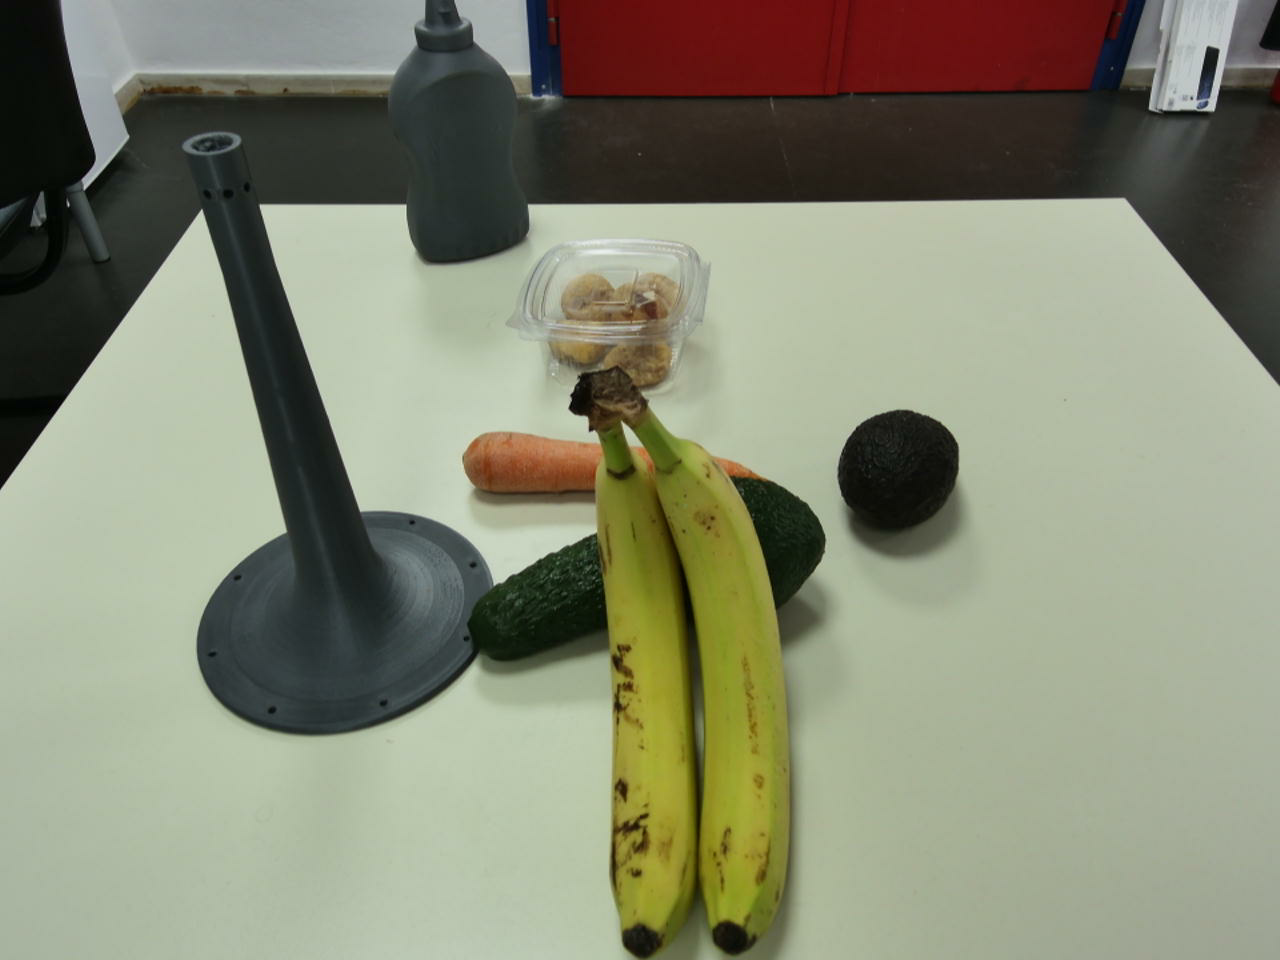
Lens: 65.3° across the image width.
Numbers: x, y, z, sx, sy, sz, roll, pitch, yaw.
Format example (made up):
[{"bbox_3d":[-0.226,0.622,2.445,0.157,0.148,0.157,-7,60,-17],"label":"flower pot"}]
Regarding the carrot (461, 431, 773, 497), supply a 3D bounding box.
[{"bbox_3d":[-0.012,-0.010,0.628,0.196,0.041,0.039,0,39,0],"label":"carrot"}]
